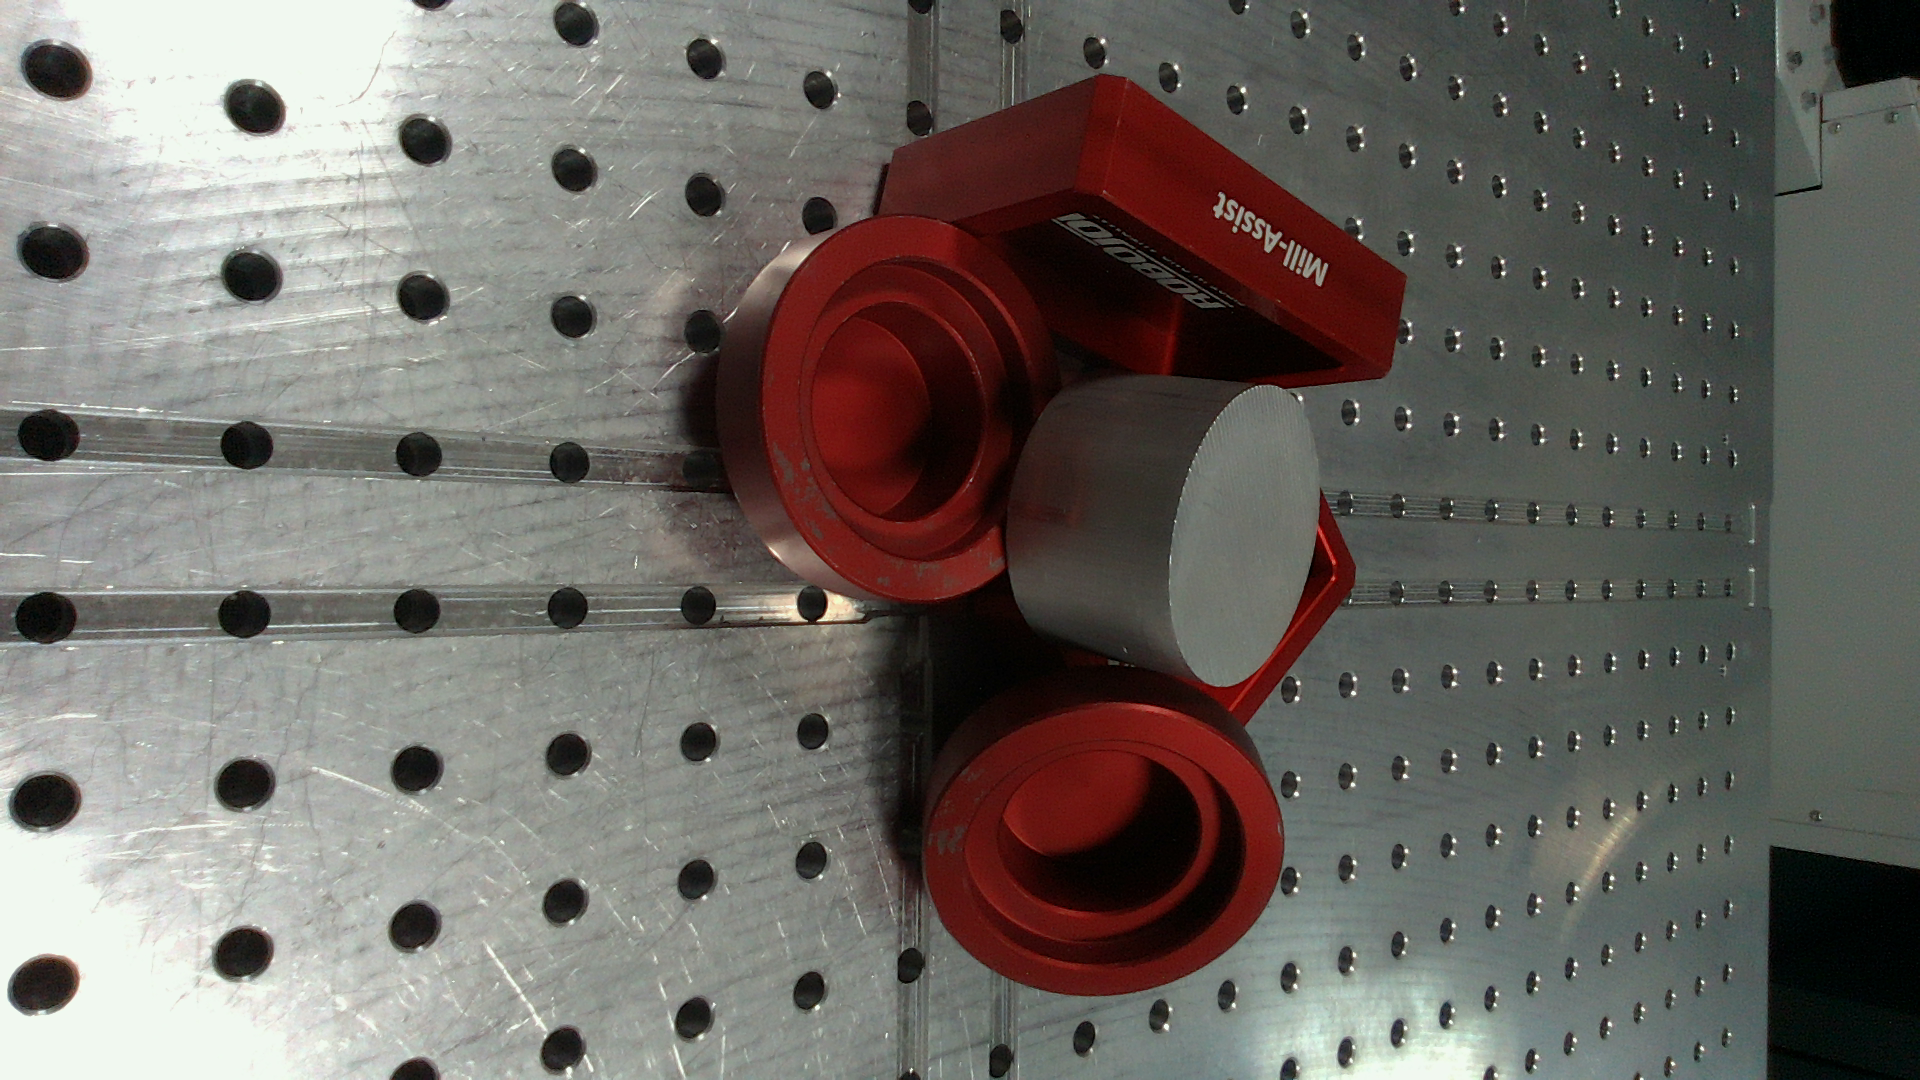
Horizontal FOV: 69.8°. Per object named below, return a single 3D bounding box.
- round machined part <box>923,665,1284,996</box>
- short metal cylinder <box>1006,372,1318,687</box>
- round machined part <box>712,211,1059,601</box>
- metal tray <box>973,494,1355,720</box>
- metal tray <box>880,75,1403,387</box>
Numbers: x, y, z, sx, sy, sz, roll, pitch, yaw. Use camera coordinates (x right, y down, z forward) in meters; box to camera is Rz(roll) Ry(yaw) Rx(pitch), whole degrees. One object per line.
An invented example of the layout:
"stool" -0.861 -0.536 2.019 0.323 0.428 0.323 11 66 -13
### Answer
"round machined part" 0.038 0.077 0.390 0.098 0.042 0.098 -1 115 -2
"short metal cylinder" 0.057 -0.005 0.375 0.080 0.050 0.080 -16 111 -49
"round machined part" -0.023 -0.034 0.362 0.098 0.042 0.098 0 90 -40
"metal tray" 0.072 0.016 0.447 0.130 0.030 0.090 -44 116 -31
"metal tray" 0.052 -0.079 0.393 0.130 0.090 0.030 20 78 -38
